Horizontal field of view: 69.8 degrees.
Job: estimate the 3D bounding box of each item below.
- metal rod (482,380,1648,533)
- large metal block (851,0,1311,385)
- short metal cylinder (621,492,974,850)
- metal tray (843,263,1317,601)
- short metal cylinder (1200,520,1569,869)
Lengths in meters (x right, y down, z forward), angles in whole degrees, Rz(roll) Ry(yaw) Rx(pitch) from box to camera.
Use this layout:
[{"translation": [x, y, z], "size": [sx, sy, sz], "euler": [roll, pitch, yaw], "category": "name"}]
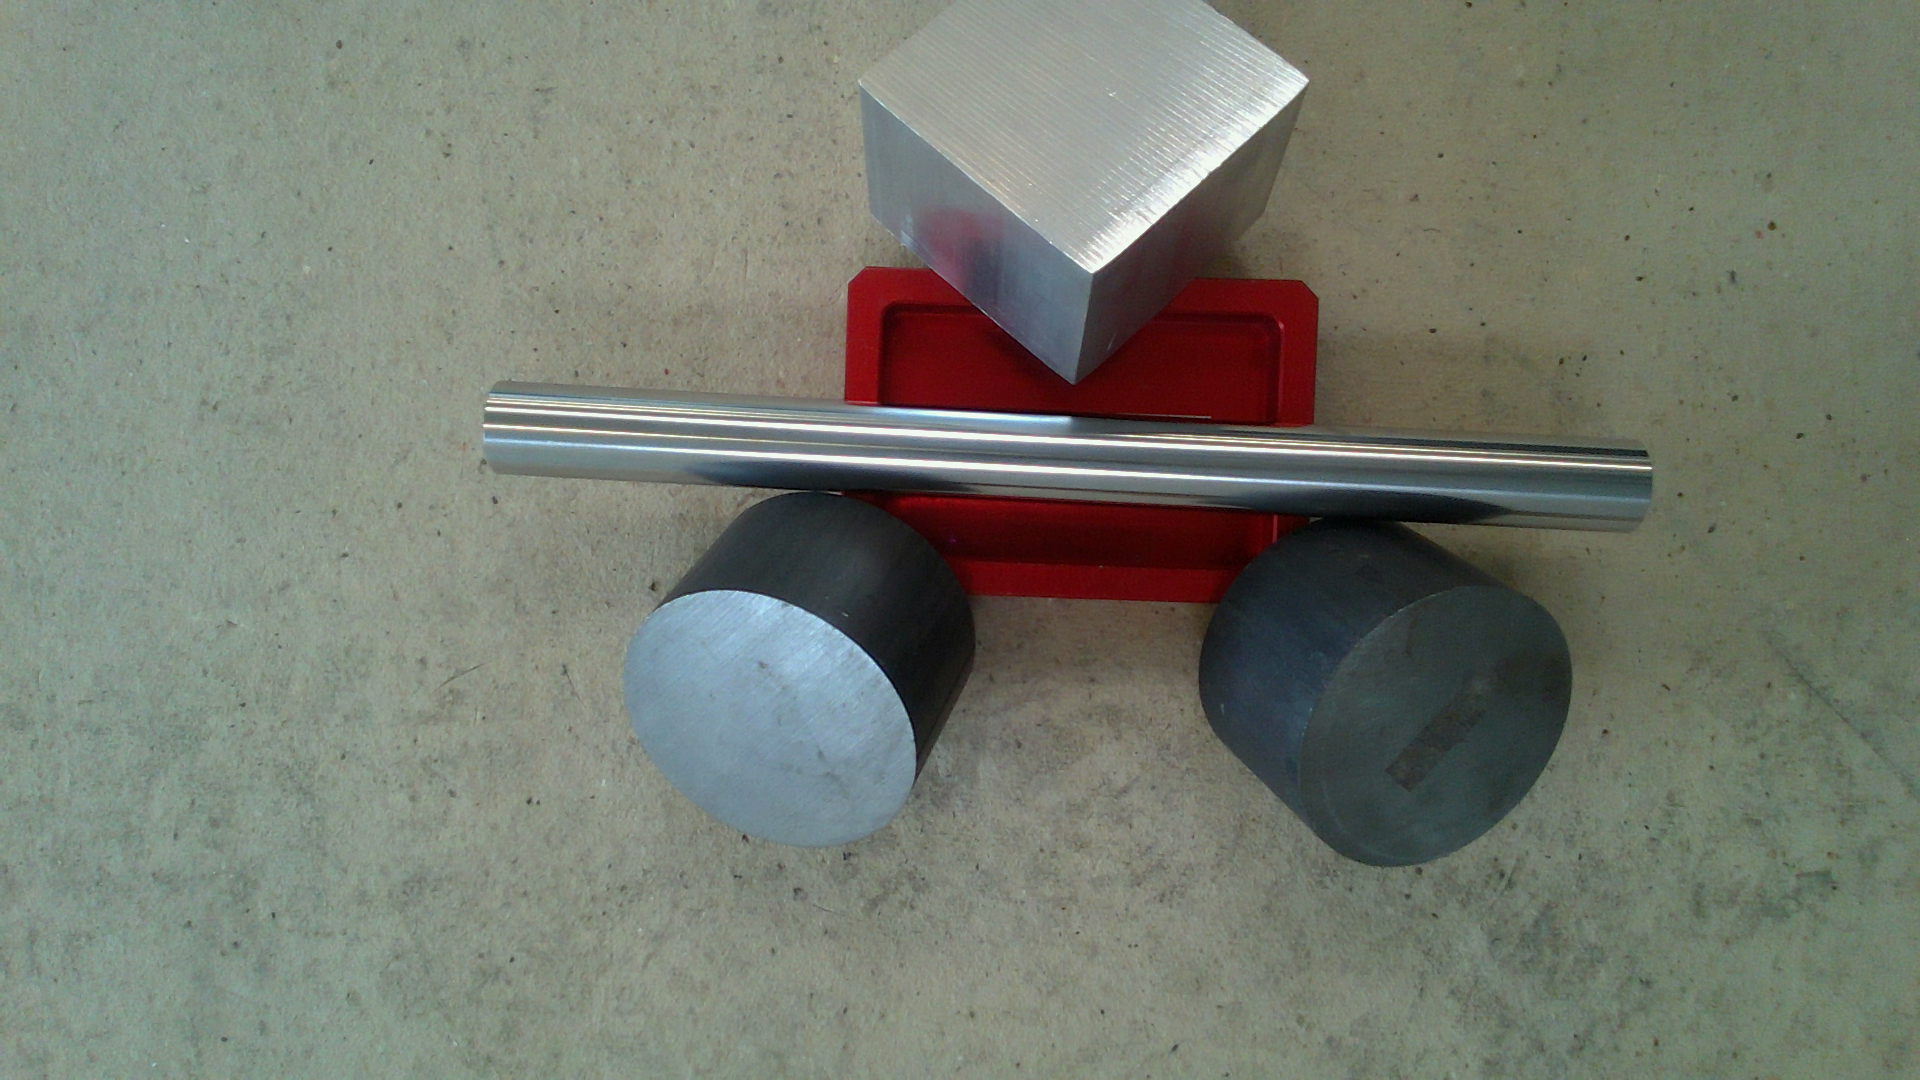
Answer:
[{"translation": [0.027, -0.022, 0.366], "size": [0.300, 0.025, 0.025], "euler": [3, 90, 0], "category": "metal rod"}, {"translation": [0.030, -0.103, 0.361], "size": [0.080, 0.050, 0.080], "euler": [42, 73, 16], "category": "large metal block"}, {"translation": [-0.041, 0.034, 0.365], "size": [0.080, 0.050, 0.080], "euler": [9, 123, 15], "category": "short metal cylinder"}, {"translation": [0.032, -0.029, 0.393], "size": [0.130, 0.030, 0.090], "euler": [2, 90, 0], "category": "metal tray"}, {"translation": [0.112, 0.039, 0.367], "size": [0.080, 0.050, 0.080], "euler": [-8, 114, -18], "category": "short metal cylinder"}]
